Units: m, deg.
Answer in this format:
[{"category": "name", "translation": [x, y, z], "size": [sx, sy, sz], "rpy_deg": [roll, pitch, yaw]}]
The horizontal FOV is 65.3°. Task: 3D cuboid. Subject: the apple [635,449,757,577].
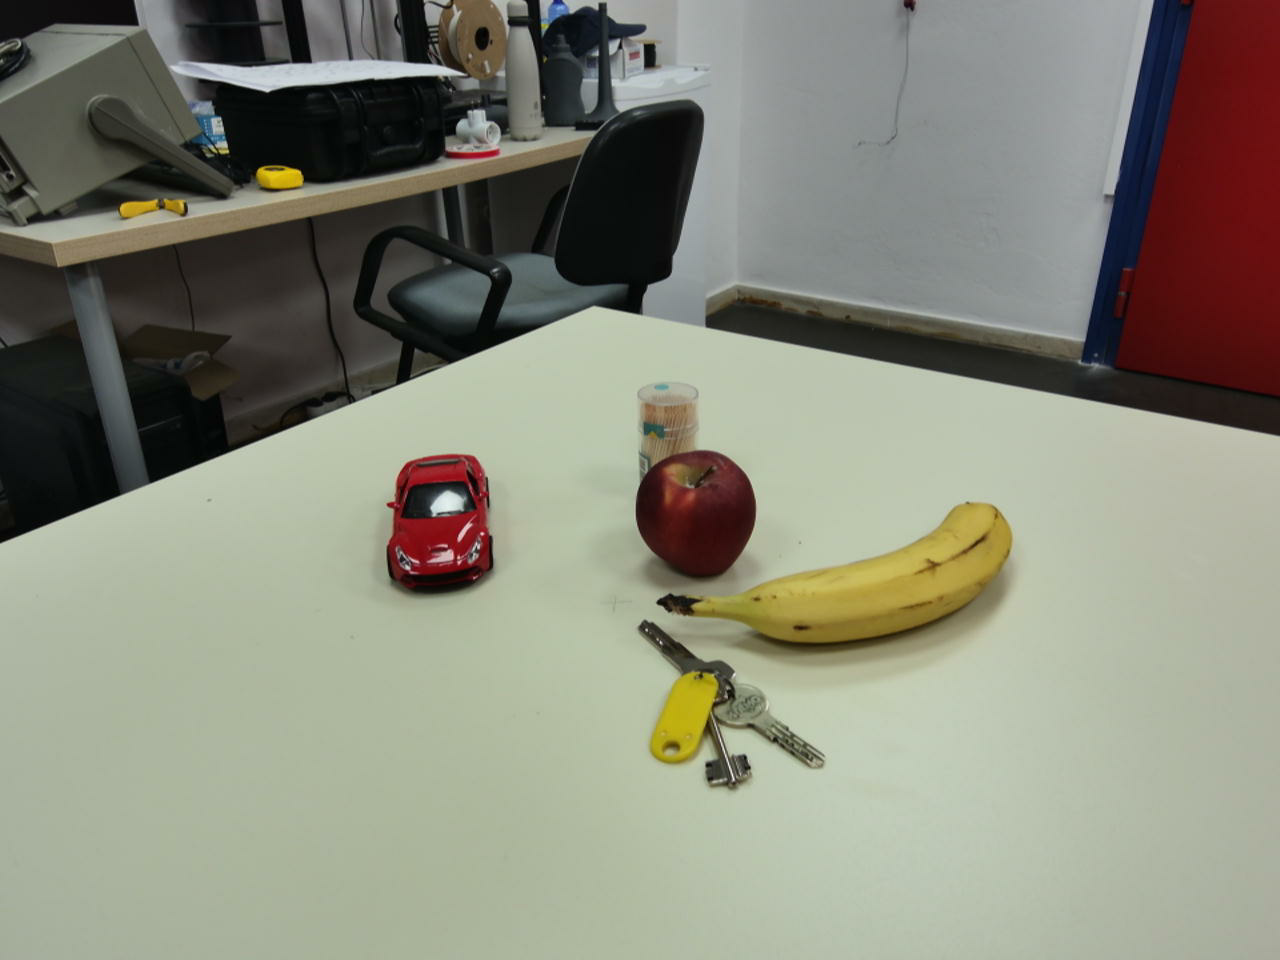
[{"category": "apple", "translation": [0.032, 0.019, 0.572], "size": [0.070, 0.072, 0.070], "rpy_deg": [1, 25, 0]}]
